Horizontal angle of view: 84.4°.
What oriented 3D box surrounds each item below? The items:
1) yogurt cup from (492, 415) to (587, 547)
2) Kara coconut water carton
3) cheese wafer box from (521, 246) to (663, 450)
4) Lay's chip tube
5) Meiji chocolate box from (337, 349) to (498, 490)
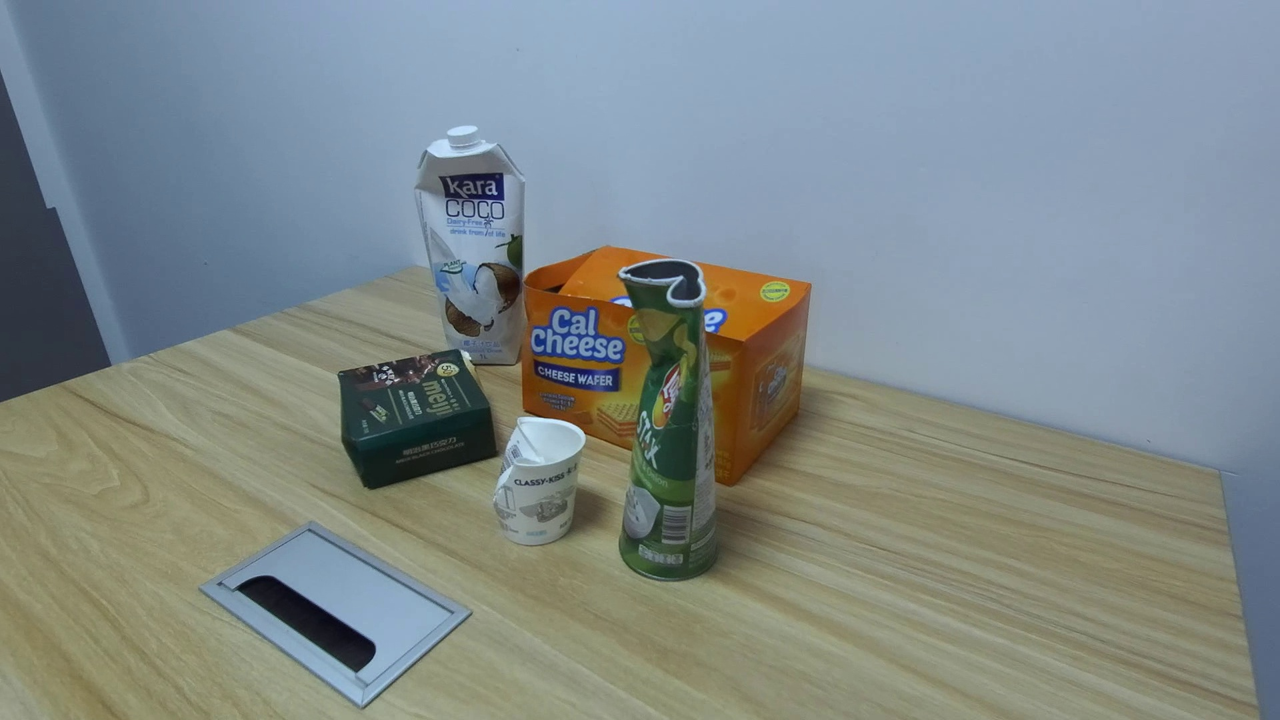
[{"bbox_3d":[-0.071,0.086,0.501,0.067,0.070,0.067,0,25,0],"label":"yogurt cup"},{"bbox_3d":[-0.166,-0.113,0.719,0.115,0.238,0.069,1,27,1],"label":"Kara coconut water carton"},{"bbox_3d":[0.016,-0.007,0.630,0.229,0.132,0.153,17,32,29],"label":"cheese wafer box"},{"bbox_3d":[0.021,0.040,0.443,0.077,0.201,0.069,16,31,33],"label":"Lay's chip tube"},{"bbox_3d":[-0.190,0.048,0.603,0.123,0.058,0.115,-13,33,-23],"label":"Meiji chocolate box"}]
